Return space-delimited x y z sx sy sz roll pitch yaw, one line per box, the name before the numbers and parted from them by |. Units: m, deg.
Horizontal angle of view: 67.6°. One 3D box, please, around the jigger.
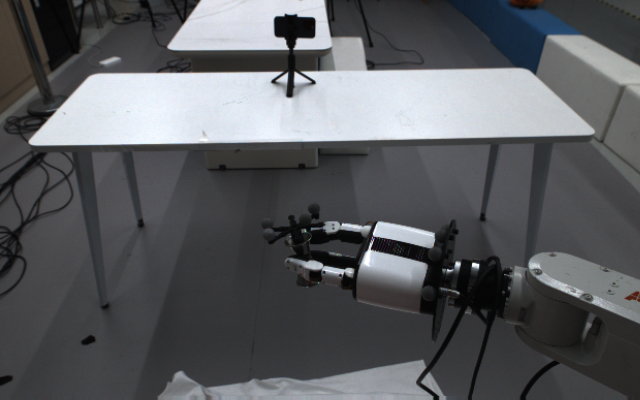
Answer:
jigger | -0.021 0.084 0.686 0.043 0.071 0.043 -14 21 6
